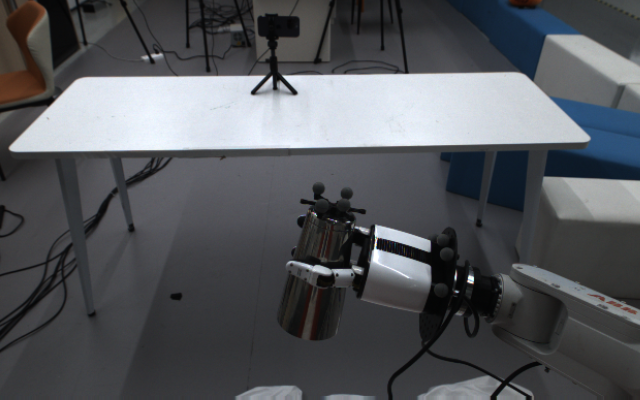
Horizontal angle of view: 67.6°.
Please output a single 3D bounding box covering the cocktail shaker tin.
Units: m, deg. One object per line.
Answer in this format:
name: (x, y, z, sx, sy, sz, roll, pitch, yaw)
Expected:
cocktail shaker tin: (0.001, 0.095, 0.669, 0.093, 0.170, 0.093, 11, 19, -4)
